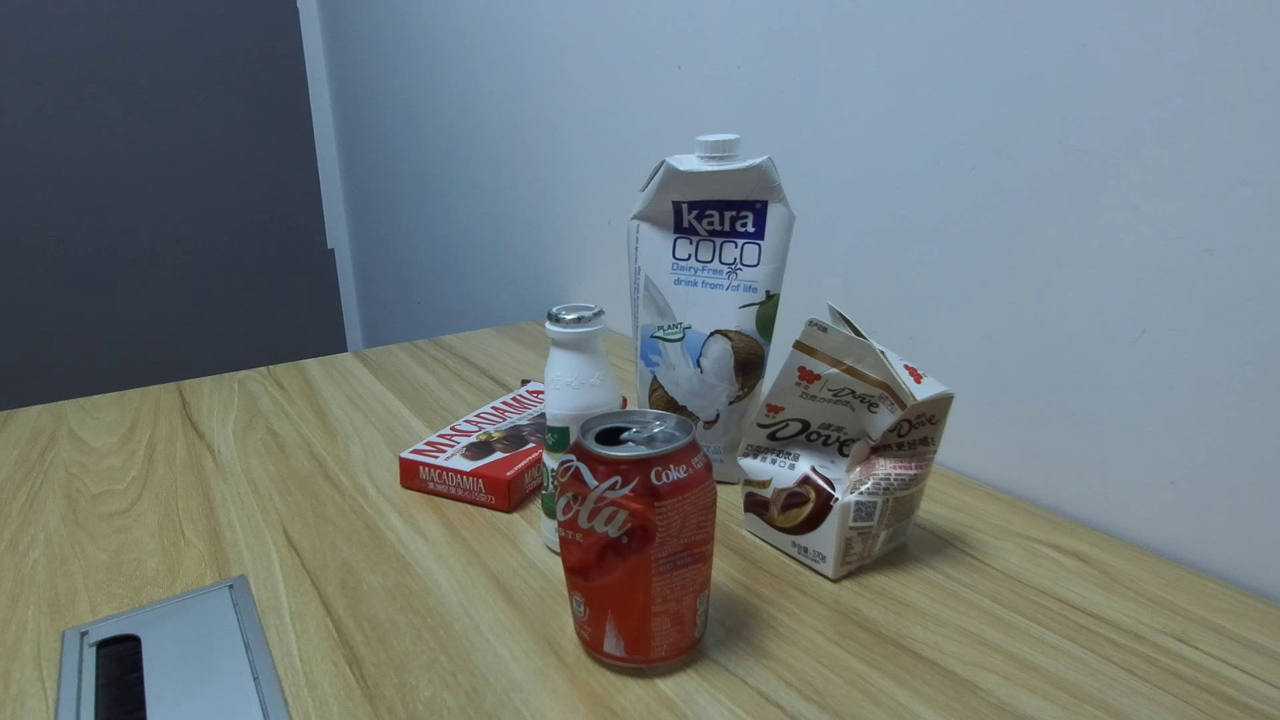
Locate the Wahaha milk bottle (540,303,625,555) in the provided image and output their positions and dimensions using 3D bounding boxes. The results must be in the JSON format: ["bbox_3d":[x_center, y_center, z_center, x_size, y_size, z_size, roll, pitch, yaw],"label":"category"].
[{"bbox_3d":[-0.036,0.041,0.418,0.056,0.148,0.056,0,20,0],"label":"Wahaha milk bottle"}]

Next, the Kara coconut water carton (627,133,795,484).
[{"bbox_3d":[0.045,-0.034,0.497,0.115,0.238,0.069,5,16,8],"label":"Kara coconut water carton"}]

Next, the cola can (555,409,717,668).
[{"bbox_3d":[0.000,0.084,0.339,0.067,0.117,0.065,-15,22,-39],"label":"cola can"}]

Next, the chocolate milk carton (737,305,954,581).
[{"bbox_3d":[0.117,0.047,0.406,0.077,0.155,0.089,-21,42,-36],"label":"chocolate milk carton"}]

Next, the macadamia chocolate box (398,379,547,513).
[{"bbox_3d":[-0.090,0.057,0.557,0.105,0.028,0.183,7,20,22],"label":"macadamia chocolate box"}]
